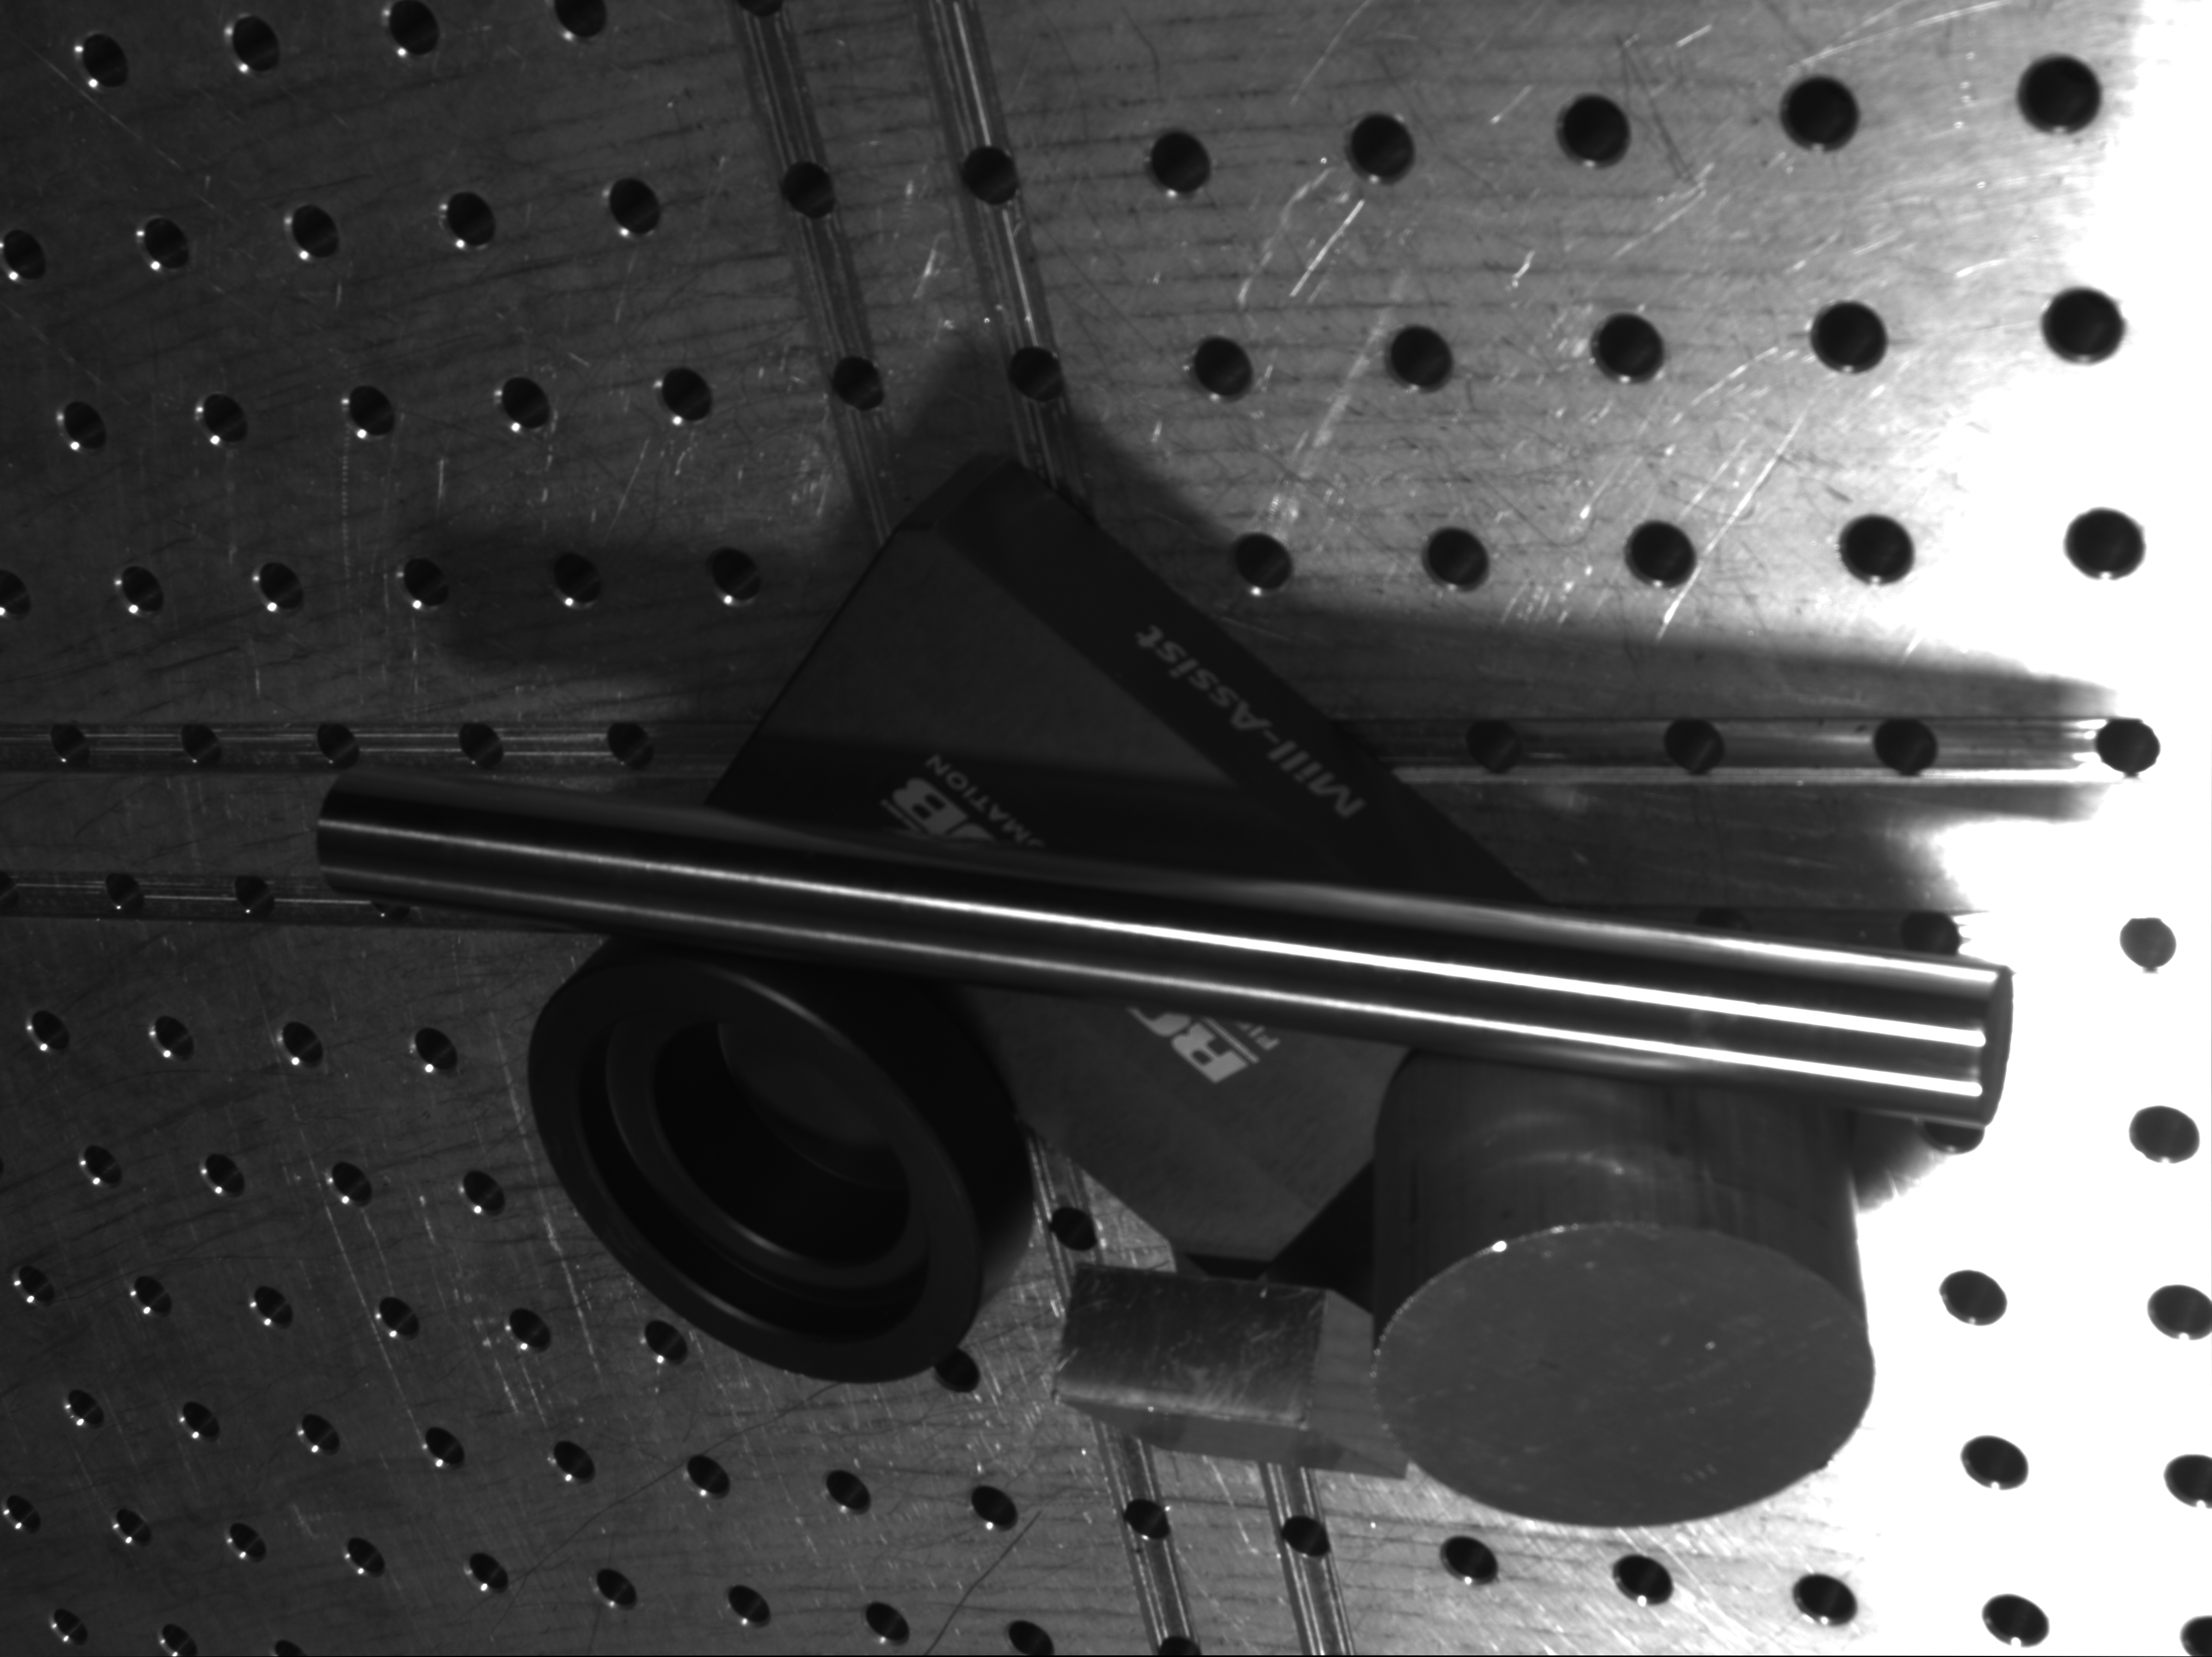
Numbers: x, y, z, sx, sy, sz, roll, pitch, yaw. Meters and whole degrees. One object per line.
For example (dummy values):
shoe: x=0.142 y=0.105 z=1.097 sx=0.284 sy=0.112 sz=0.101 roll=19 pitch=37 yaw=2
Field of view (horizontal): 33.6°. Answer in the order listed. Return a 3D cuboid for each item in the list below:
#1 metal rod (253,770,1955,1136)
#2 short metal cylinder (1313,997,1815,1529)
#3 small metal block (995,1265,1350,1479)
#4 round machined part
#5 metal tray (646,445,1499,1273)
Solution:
metal rod: x=-0.011 y=0.018 z=0.610 sx=0.299 sy=0.025 sz=0.025 roll=7 pitch=121 yaw=23
short metal cylinder: x=0.074 y=0.072 z=0.605 sx=0.080 sy=0.050 sz=0.080 roll=1 pitch=135 yaw=2
small metal block: x=0.015 y=0.100 z=0.669 sx=0.050 sy=0.025 sz=0.050 roll=2 pitch=162 yaw=25
round machined part: x=-0.067 y=0.053 z=0.682 sx=0.098 sy=0.042 sz=0.098 roll=17 pitch=132 yaw=21
metal tray: x=-0.008 y=0.007 z=0.640 sx=0.130 sy=0.030 sz=0.090 roll=40 pitch=128 yaw=0
